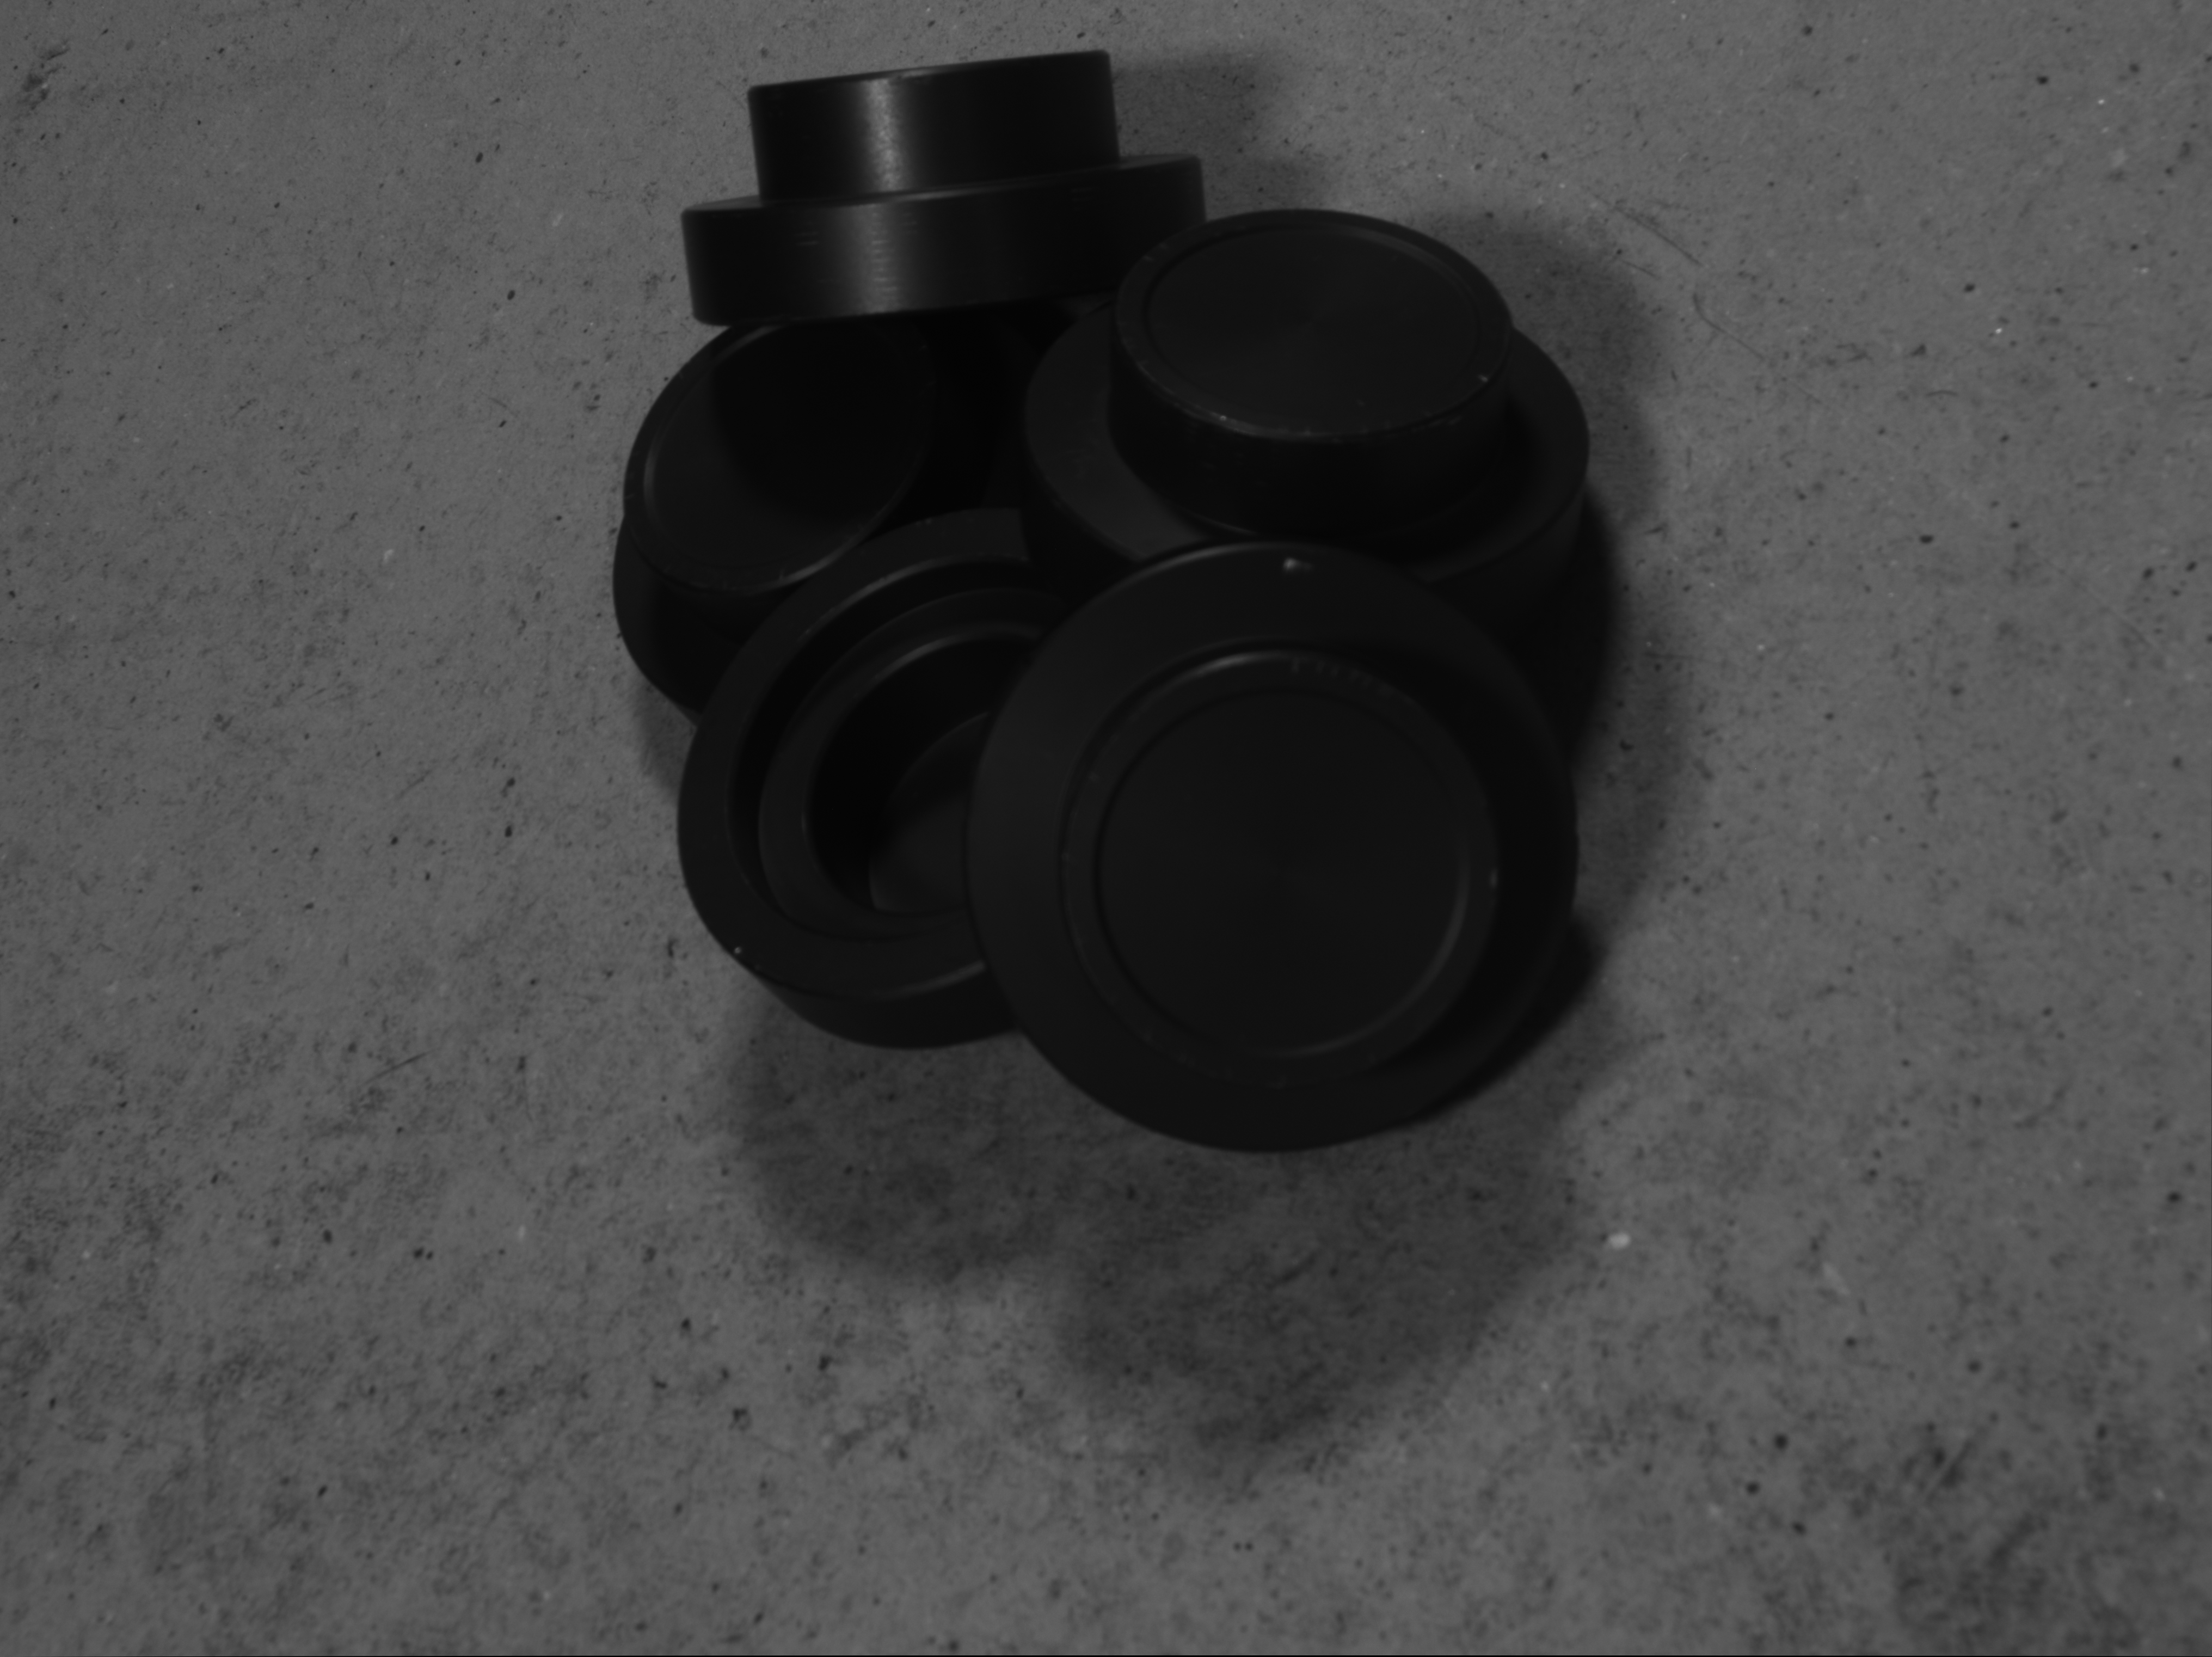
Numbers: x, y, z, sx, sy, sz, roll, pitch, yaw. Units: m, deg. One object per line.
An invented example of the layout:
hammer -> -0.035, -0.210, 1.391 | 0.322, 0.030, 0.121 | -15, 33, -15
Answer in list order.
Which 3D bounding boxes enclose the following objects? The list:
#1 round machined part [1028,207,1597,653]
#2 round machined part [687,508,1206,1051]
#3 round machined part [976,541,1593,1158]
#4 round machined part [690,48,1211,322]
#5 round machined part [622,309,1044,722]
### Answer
round machined part -> 0.036, -0.071, 0.630 | 0.098, 0.042, 0.098 | 2, 42, -1
round machined part -> -0.022, -0.005, 0.648 | 0.098, 0.042, 0.098 | -13, 56, 21
round machined part -> 0.029, 0.005, 0.579 | 0.098, 0.098, 0.042 | -37, 10, 3
round machined part -> -0.029, -0.122, 0.687 | 0.098, 0.098, 0.042 | 1, 104, 29
round machined part -> -0.051, -0.062, 0.701 | 0.098, 0.042, 0.098 | -13, 56, 21
